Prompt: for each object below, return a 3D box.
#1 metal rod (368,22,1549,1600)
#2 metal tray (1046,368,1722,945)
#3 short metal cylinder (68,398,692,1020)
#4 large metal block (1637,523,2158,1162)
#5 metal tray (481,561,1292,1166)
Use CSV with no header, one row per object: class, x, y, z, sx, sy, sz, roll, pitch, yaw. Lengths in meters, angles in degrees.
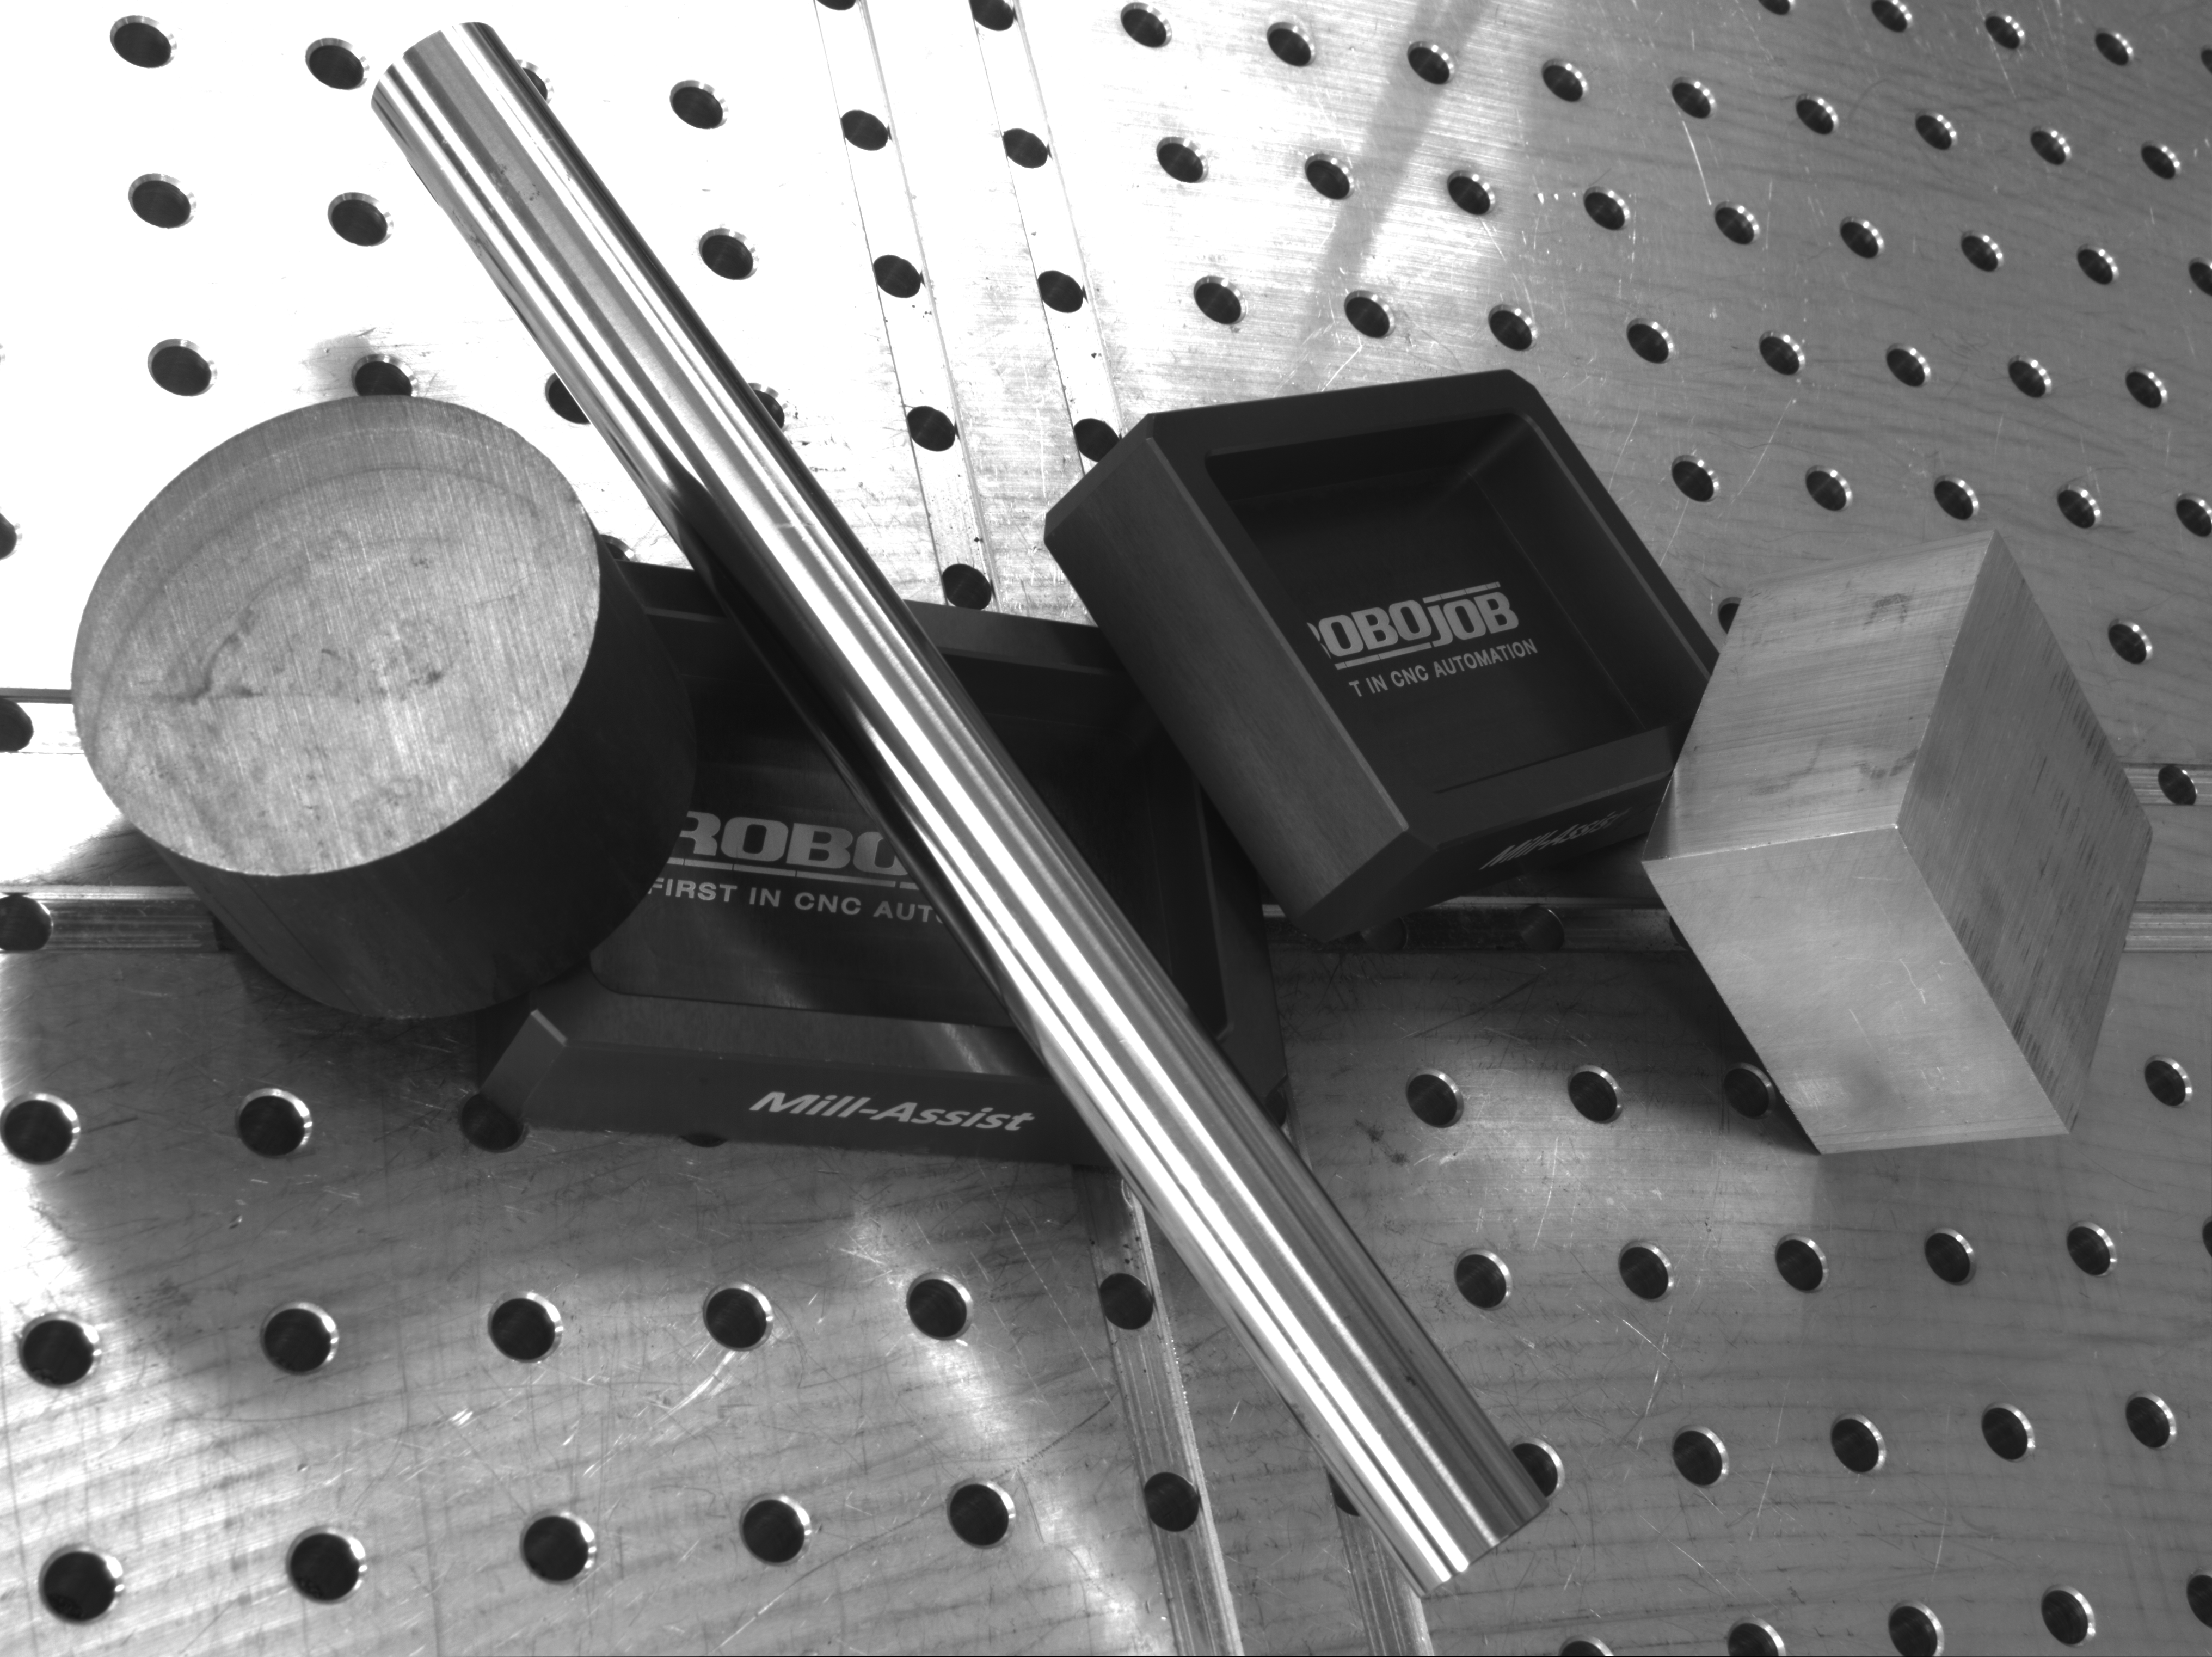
metal rod,-0.028,-0.008,0.594,0.025,0.025,0.300,-28,77,-37
metal tray,0.058,-0.035,0.668,0.130,0.030,0.090,-16,69,-52
short metal cylinder,-0.108,-0.018,0.556,0.080,0.050,0.080,-5,63,9
large metal block,0.149,0.003,0.681,0.080,0.050,0.080,55,45,-30
metal tray,-0.038,0.007,0.614,0.130,0.030,0.090,7,59,-25
